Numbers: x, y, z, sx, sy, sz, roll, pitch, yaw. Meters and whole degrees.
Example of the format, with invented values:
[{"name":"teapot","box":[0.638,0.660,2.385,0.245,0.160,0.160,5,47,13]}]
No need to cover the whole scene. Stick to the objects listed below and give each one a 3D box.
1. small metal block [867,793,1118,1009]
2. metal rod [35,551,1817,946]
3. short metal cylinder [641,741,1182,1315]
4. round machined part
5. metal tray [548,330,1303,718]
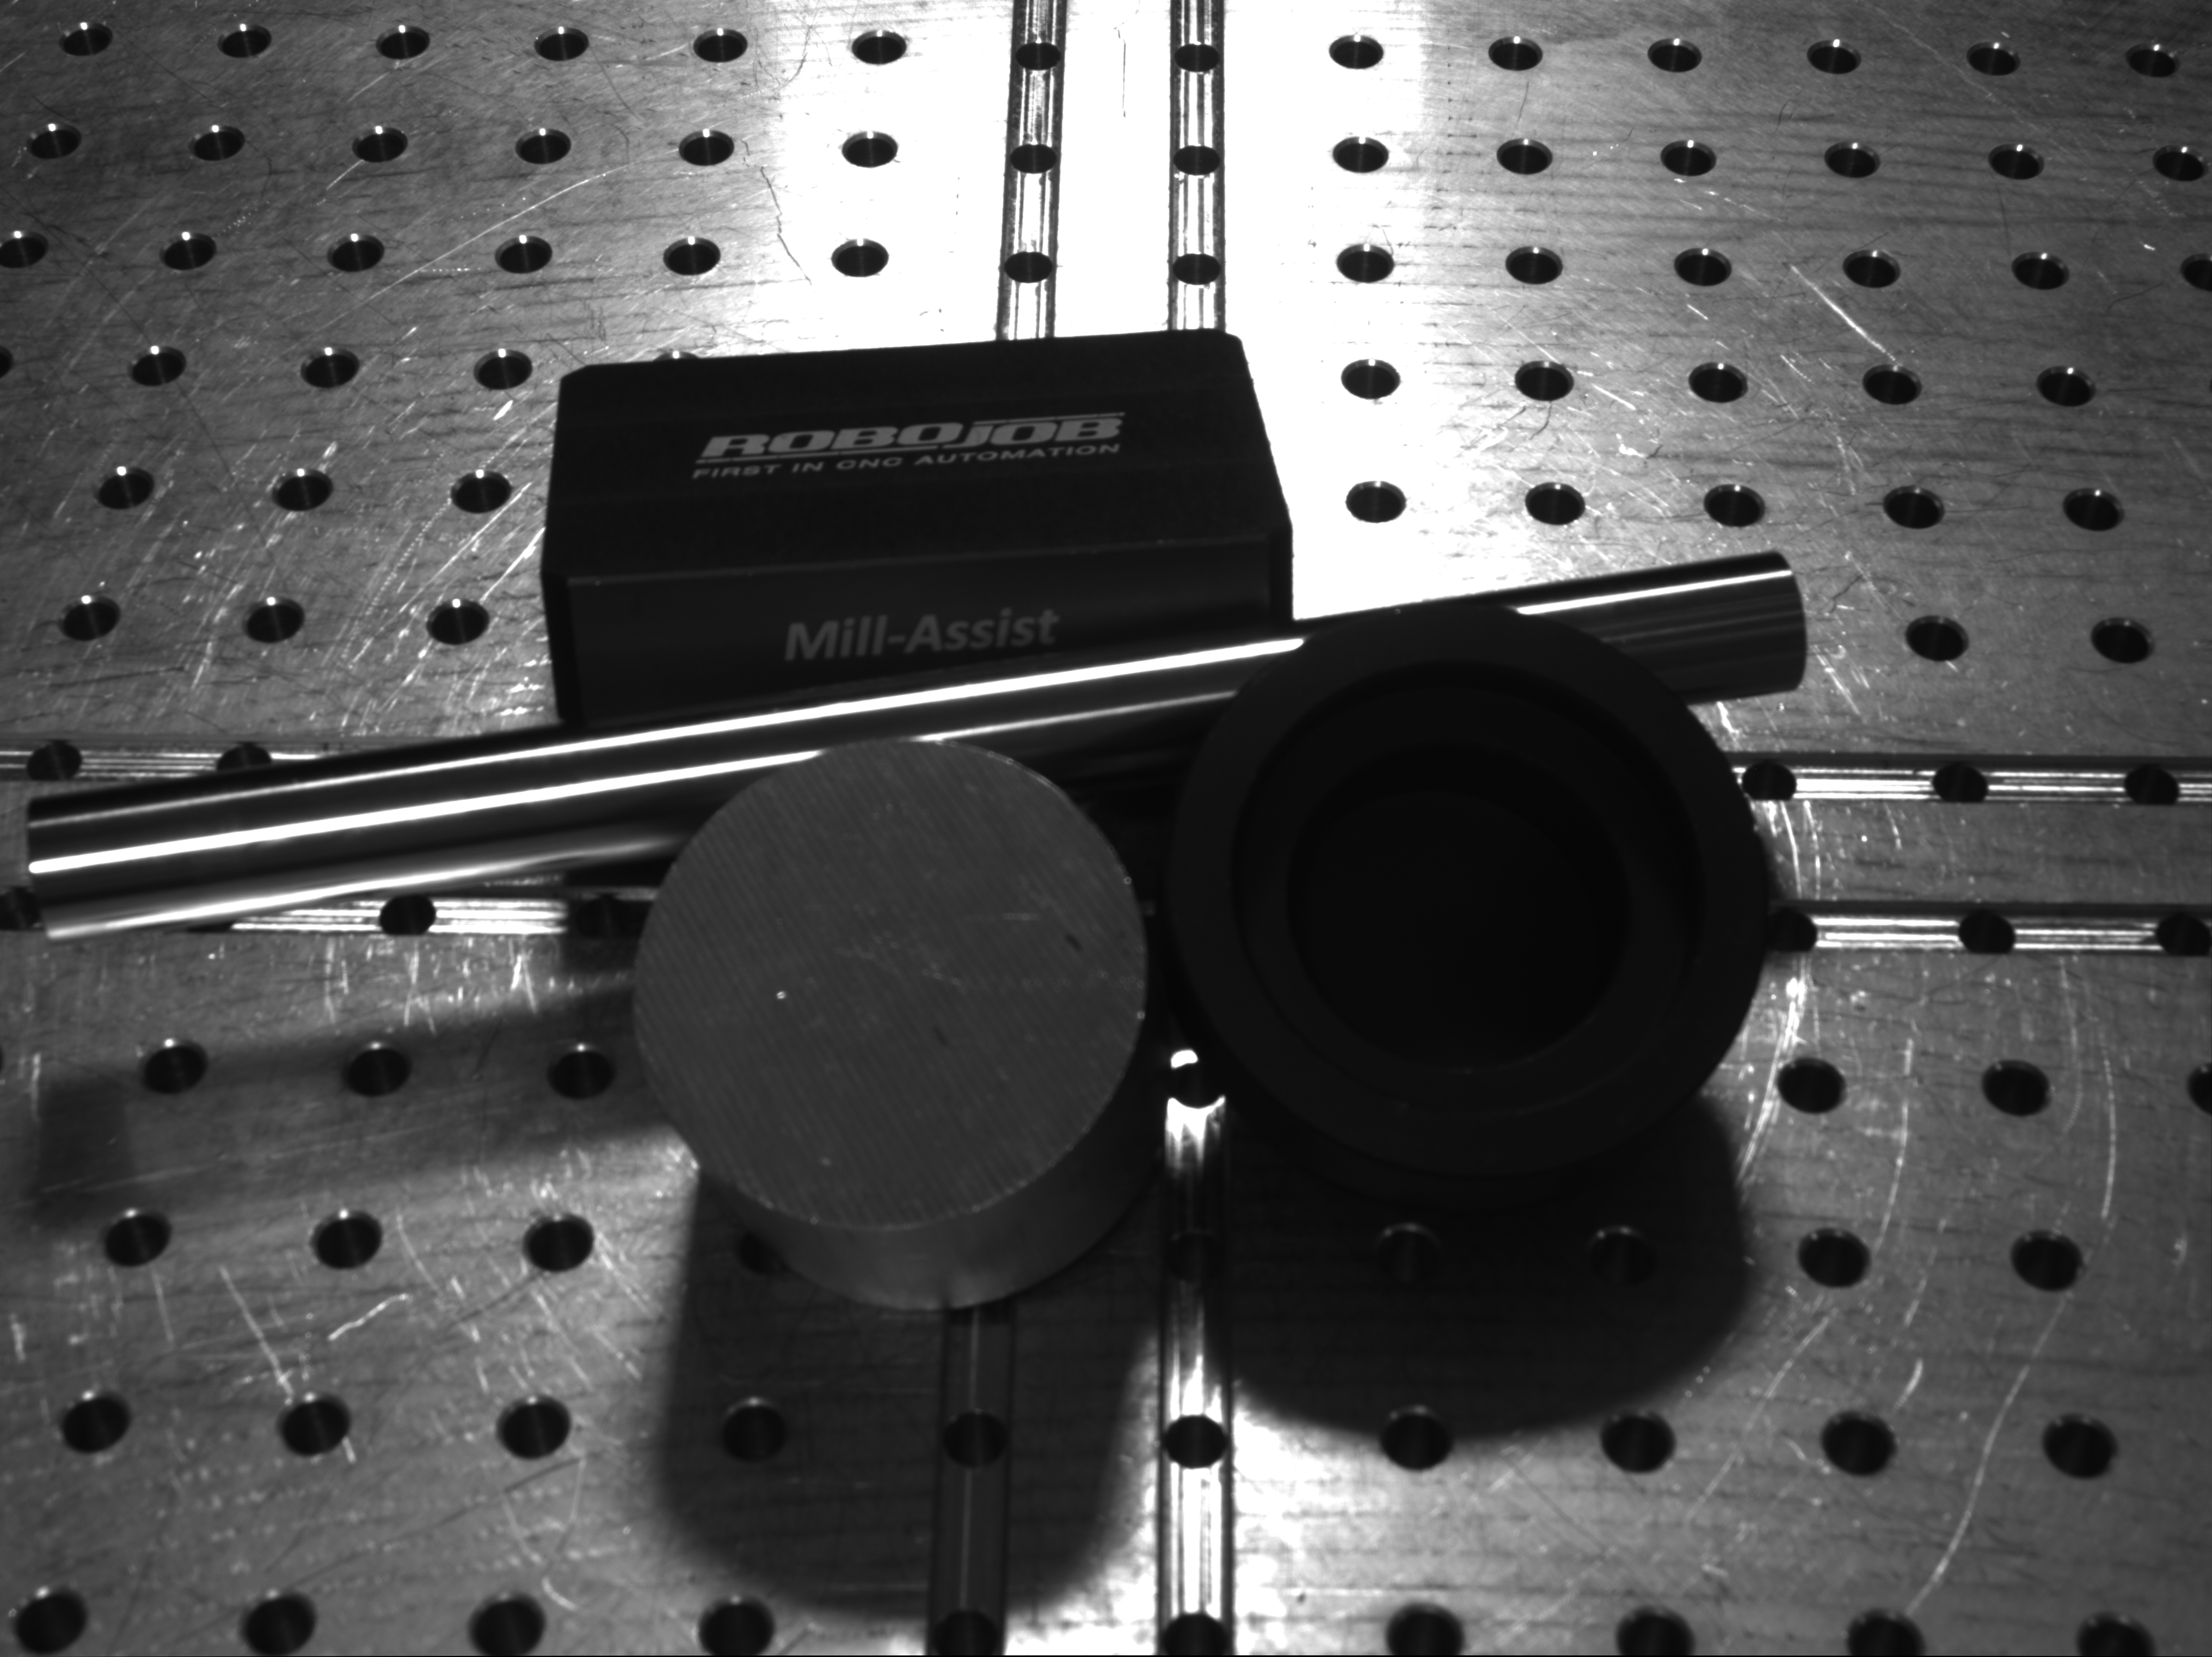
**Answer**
[{"name":"small metal block","box":[-0.029,0.014,0.645,0.050,0.025,0.050,14,51,12]},{"name":"metal rod","box":[-0.027,-0.015,0.624,0.300,0.025,0.025,-8,50,-7]},{"name":"short metal cylinder","box":[-0.030,0.033,0.586,0.080,0.050,0.080,-2,68,5]},{"name":"round machined part","box":[0.058,0.015,0.606,0.098,0.042,0.098,1,72,-3]},{"name":"metal tray","box":[-0.034,-0.057,0.672,0.130,0.030,0.090,-3,31,-4]}]
